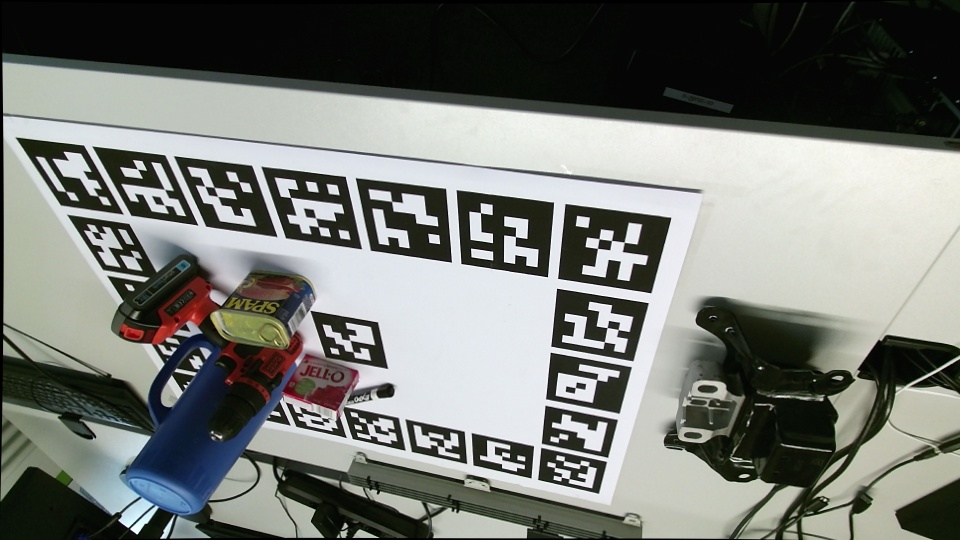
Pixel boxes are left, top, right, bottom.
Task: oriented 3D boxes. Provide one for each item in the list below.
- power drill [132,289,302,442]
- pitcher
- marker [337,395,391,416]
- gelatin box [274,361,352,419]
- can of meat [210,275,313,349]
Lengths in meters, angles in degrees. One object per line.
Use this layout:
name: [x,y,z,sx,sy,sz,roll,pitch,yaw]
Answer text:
power drill: [-0.360,0.124,0.724,0.187,0.184,0.057,38,126,-6]
pitcher: [-0.410,0.212,0.781,0.189,0.241,0.133,29,127,-15]
marker: [-0.191,0.216,0.850,0.121,0.019,0.020,-16,121,27]
gelatin box: [-0.251,0.181,0.808,0.089,0.073,0.030,17,127,6]
can of meat: [-0.284,0.055,0.705,0.102,0.083,0.058,7,131,13]
